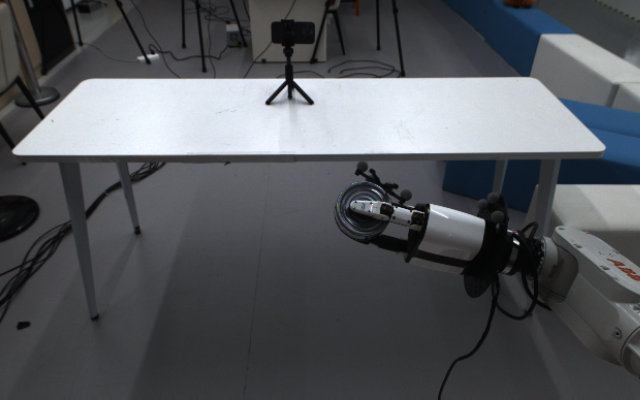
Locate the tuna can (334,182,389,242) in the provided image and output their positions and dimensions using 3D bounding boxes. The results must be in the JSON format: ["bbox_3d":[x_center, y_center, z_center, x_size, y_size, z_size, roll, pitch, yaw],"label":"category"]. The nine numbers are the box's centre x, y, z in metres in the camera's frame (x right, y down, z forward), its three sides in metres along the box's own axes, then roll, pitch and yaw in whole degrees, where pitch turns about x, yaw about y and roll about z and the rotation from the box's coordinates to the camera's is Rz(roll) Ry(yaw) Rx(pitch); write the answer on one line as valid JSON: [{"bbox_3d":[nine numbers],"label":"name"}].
[{"bbox_3d":[0.068,0.022,0.723,0.085,0.034,0.085,0,74,0],"label":"tuna can"}]
